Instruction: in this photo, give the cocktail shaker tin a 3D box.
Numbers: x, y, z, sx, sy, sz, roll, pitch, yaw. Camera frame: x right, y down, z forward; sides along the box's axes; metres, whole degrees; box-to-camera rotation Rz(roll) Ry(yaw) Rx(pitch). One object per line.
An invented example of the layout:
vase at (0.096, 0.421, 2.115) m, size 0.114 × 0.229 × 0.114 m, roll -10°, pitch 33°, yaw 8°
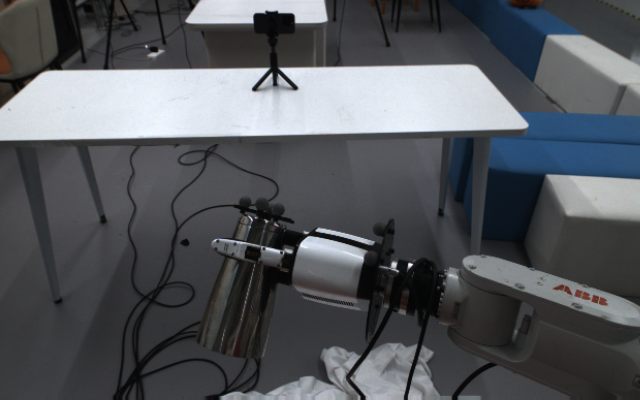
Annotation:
cocktail shaker tin at (-0.096, 0.108, 0.641) m, size 0.093 × 0.170 × 0.093 m, roll 15°, pitch -5°, yaw 1°
